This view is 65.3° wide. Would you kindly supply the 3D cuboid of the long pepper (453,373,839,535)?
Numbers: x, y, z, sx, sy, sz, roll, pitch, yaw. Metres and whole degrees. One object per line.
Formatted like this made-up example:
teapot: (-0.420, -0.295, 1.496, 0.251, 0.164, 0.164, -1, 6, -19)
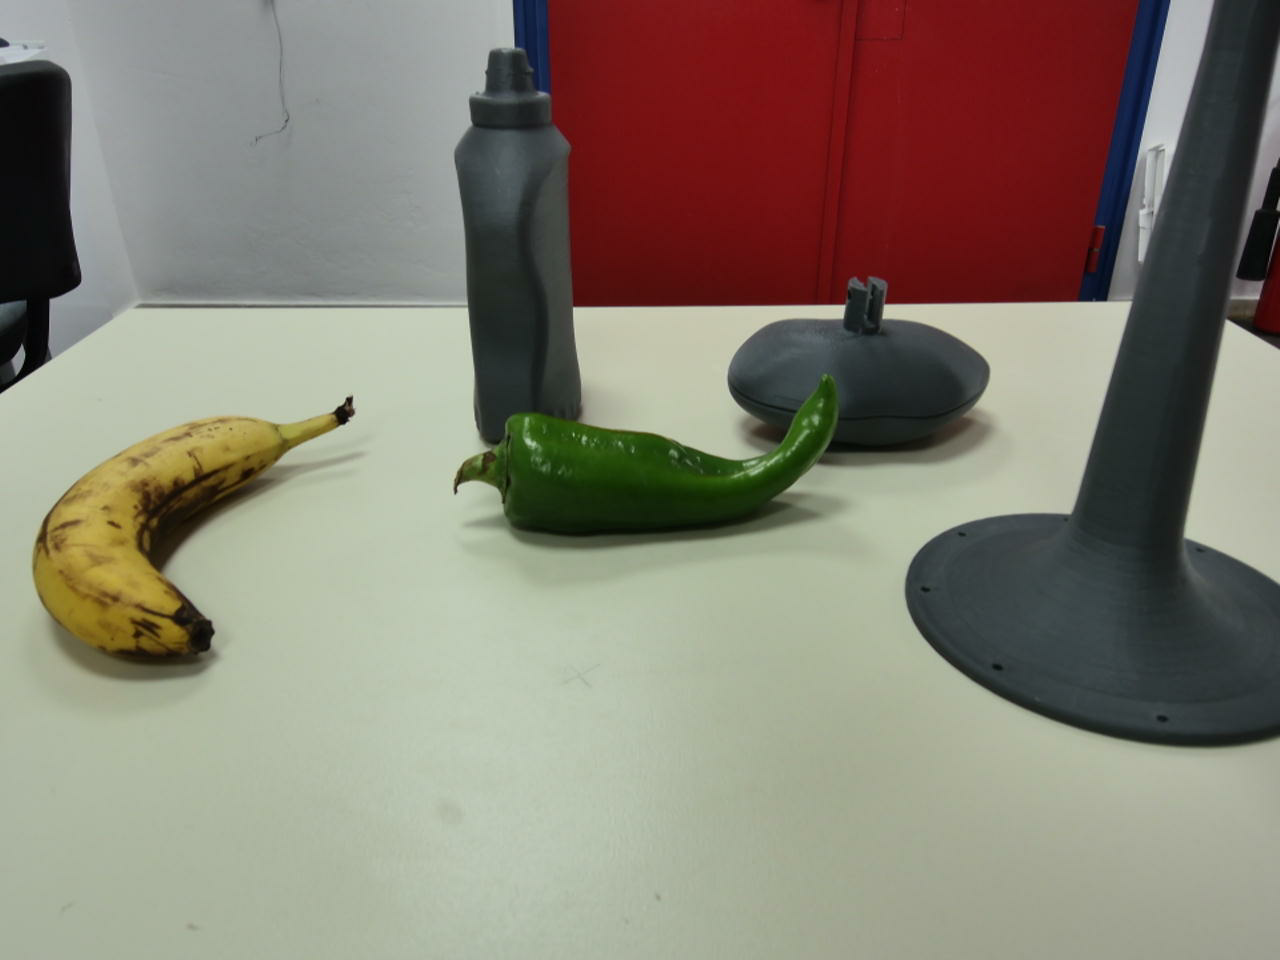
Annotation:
long pepper: (0.003, -0.012, 0.450, 0.175, 0.065, 0.058, -1, 24, -2)
